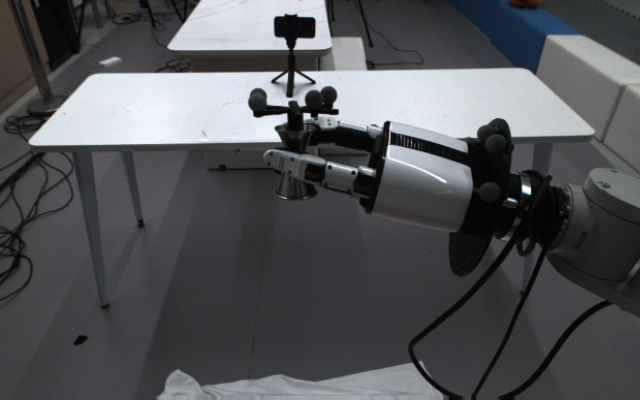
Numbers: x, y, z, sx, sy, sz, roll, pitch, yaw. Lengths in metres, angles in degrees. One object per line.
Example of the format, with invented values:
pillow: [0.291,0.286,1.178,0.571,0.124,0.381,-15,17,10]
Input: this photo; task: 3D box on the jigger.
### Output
jigger: [-0.024,-0.038,0.485,0.043,0.071,0.043,0,21,0]
